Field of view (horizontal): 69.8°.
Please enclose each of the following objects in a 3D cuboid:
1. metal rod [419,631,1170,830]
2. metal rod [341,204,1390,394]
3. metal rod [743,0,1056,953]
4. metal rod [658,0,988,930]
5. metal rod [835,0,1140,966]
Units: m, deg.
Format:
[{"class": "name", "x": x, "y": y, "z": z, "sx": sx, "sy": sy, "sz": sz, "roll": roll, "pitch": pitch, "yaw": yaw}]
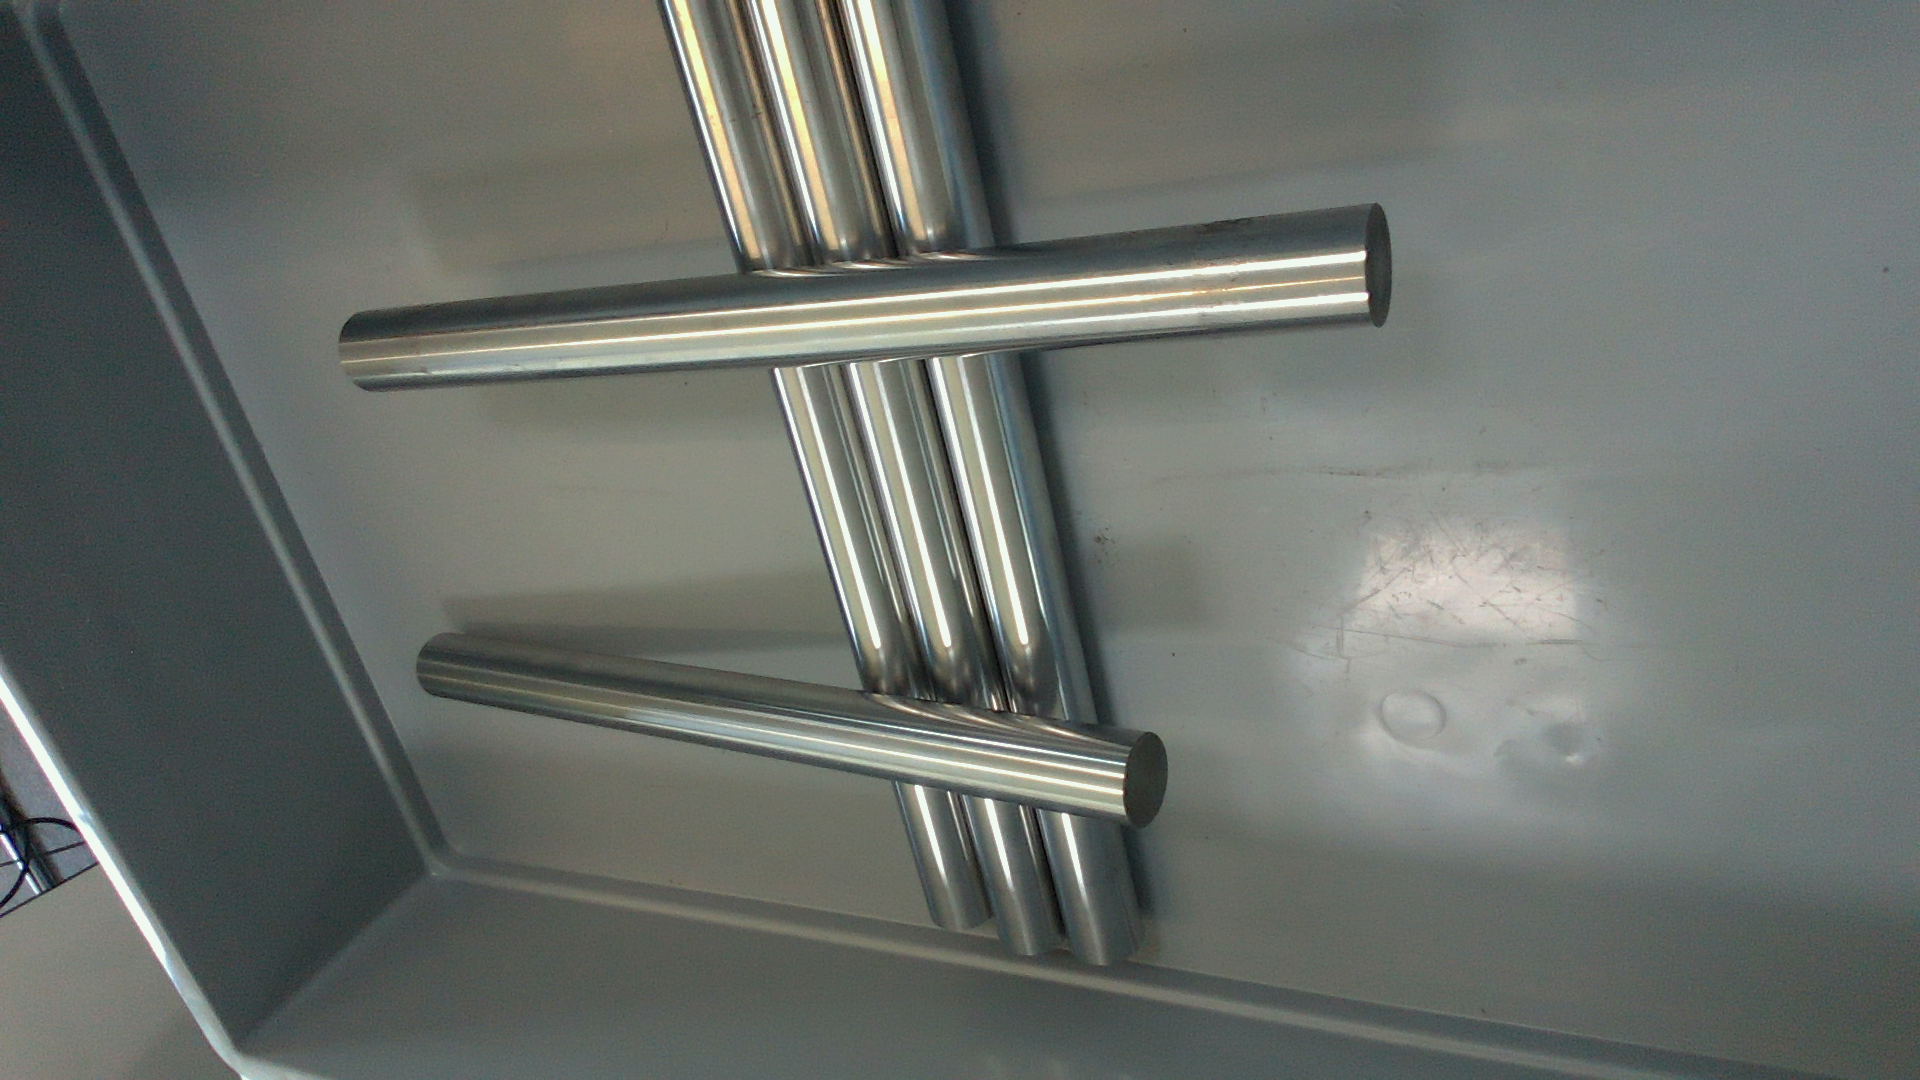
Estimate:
[{"class": "metal rod", "x": -0.074, "y": 0.055, "z": 0.442, "sx": 0.299, "sy": 0.025, "sz": 0.025, "roll": 4, "pitch": 120, "yaw": 35}, {"class": "metal rod", "x": -0.047, "y": -0.056, "z": 0.350, "sx": 0.299, "sy": 0.025, "sz": 0.025, "roll": 0, "pitch": 119, "yaw": 28}, {"class": "metal rod", "x": -0.008, "y": -0.003, "z": 0.395, "sx": 0.025, "sy": 0.025, "sz": 0.300, "roll": 1, "pitch": 119, "yaw": 28}, {"class": "metal rod", "x": -0.031, "y": -0.008, "z": 0.404, "sx": 0.025, "sy": 0.025, "sz": 0.300, "roll": 0, "pitch": 119, "yaw": 28}, {"class": "metal rod", "x": 0.014, "y": -0.003, "z": 0.382, "sx": 0.025, "sy": 0.025, "sz": 0.300, "roll": 1, "pitch": 119, "yaw": 28}]
